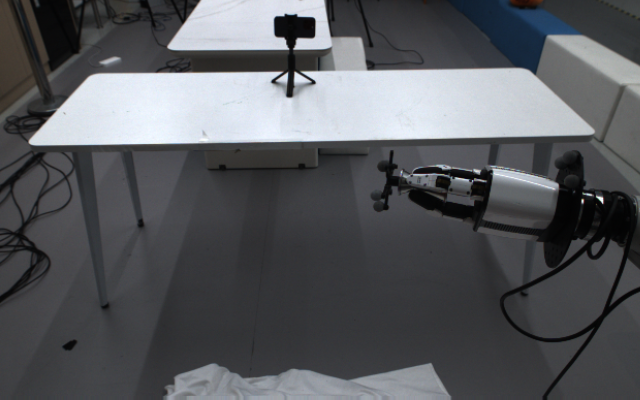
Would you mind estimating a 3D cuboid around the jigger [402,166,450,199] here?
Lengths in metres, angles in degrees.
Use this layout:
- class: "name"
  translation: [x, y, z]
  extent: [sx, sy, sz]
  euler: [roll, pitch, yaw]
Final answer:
- class: "jigger"
  translation: [0.155, -0.026, 0.694]
  extent: [0.071, 0.043, 0.043]
  euler: [8, 35, 15]
